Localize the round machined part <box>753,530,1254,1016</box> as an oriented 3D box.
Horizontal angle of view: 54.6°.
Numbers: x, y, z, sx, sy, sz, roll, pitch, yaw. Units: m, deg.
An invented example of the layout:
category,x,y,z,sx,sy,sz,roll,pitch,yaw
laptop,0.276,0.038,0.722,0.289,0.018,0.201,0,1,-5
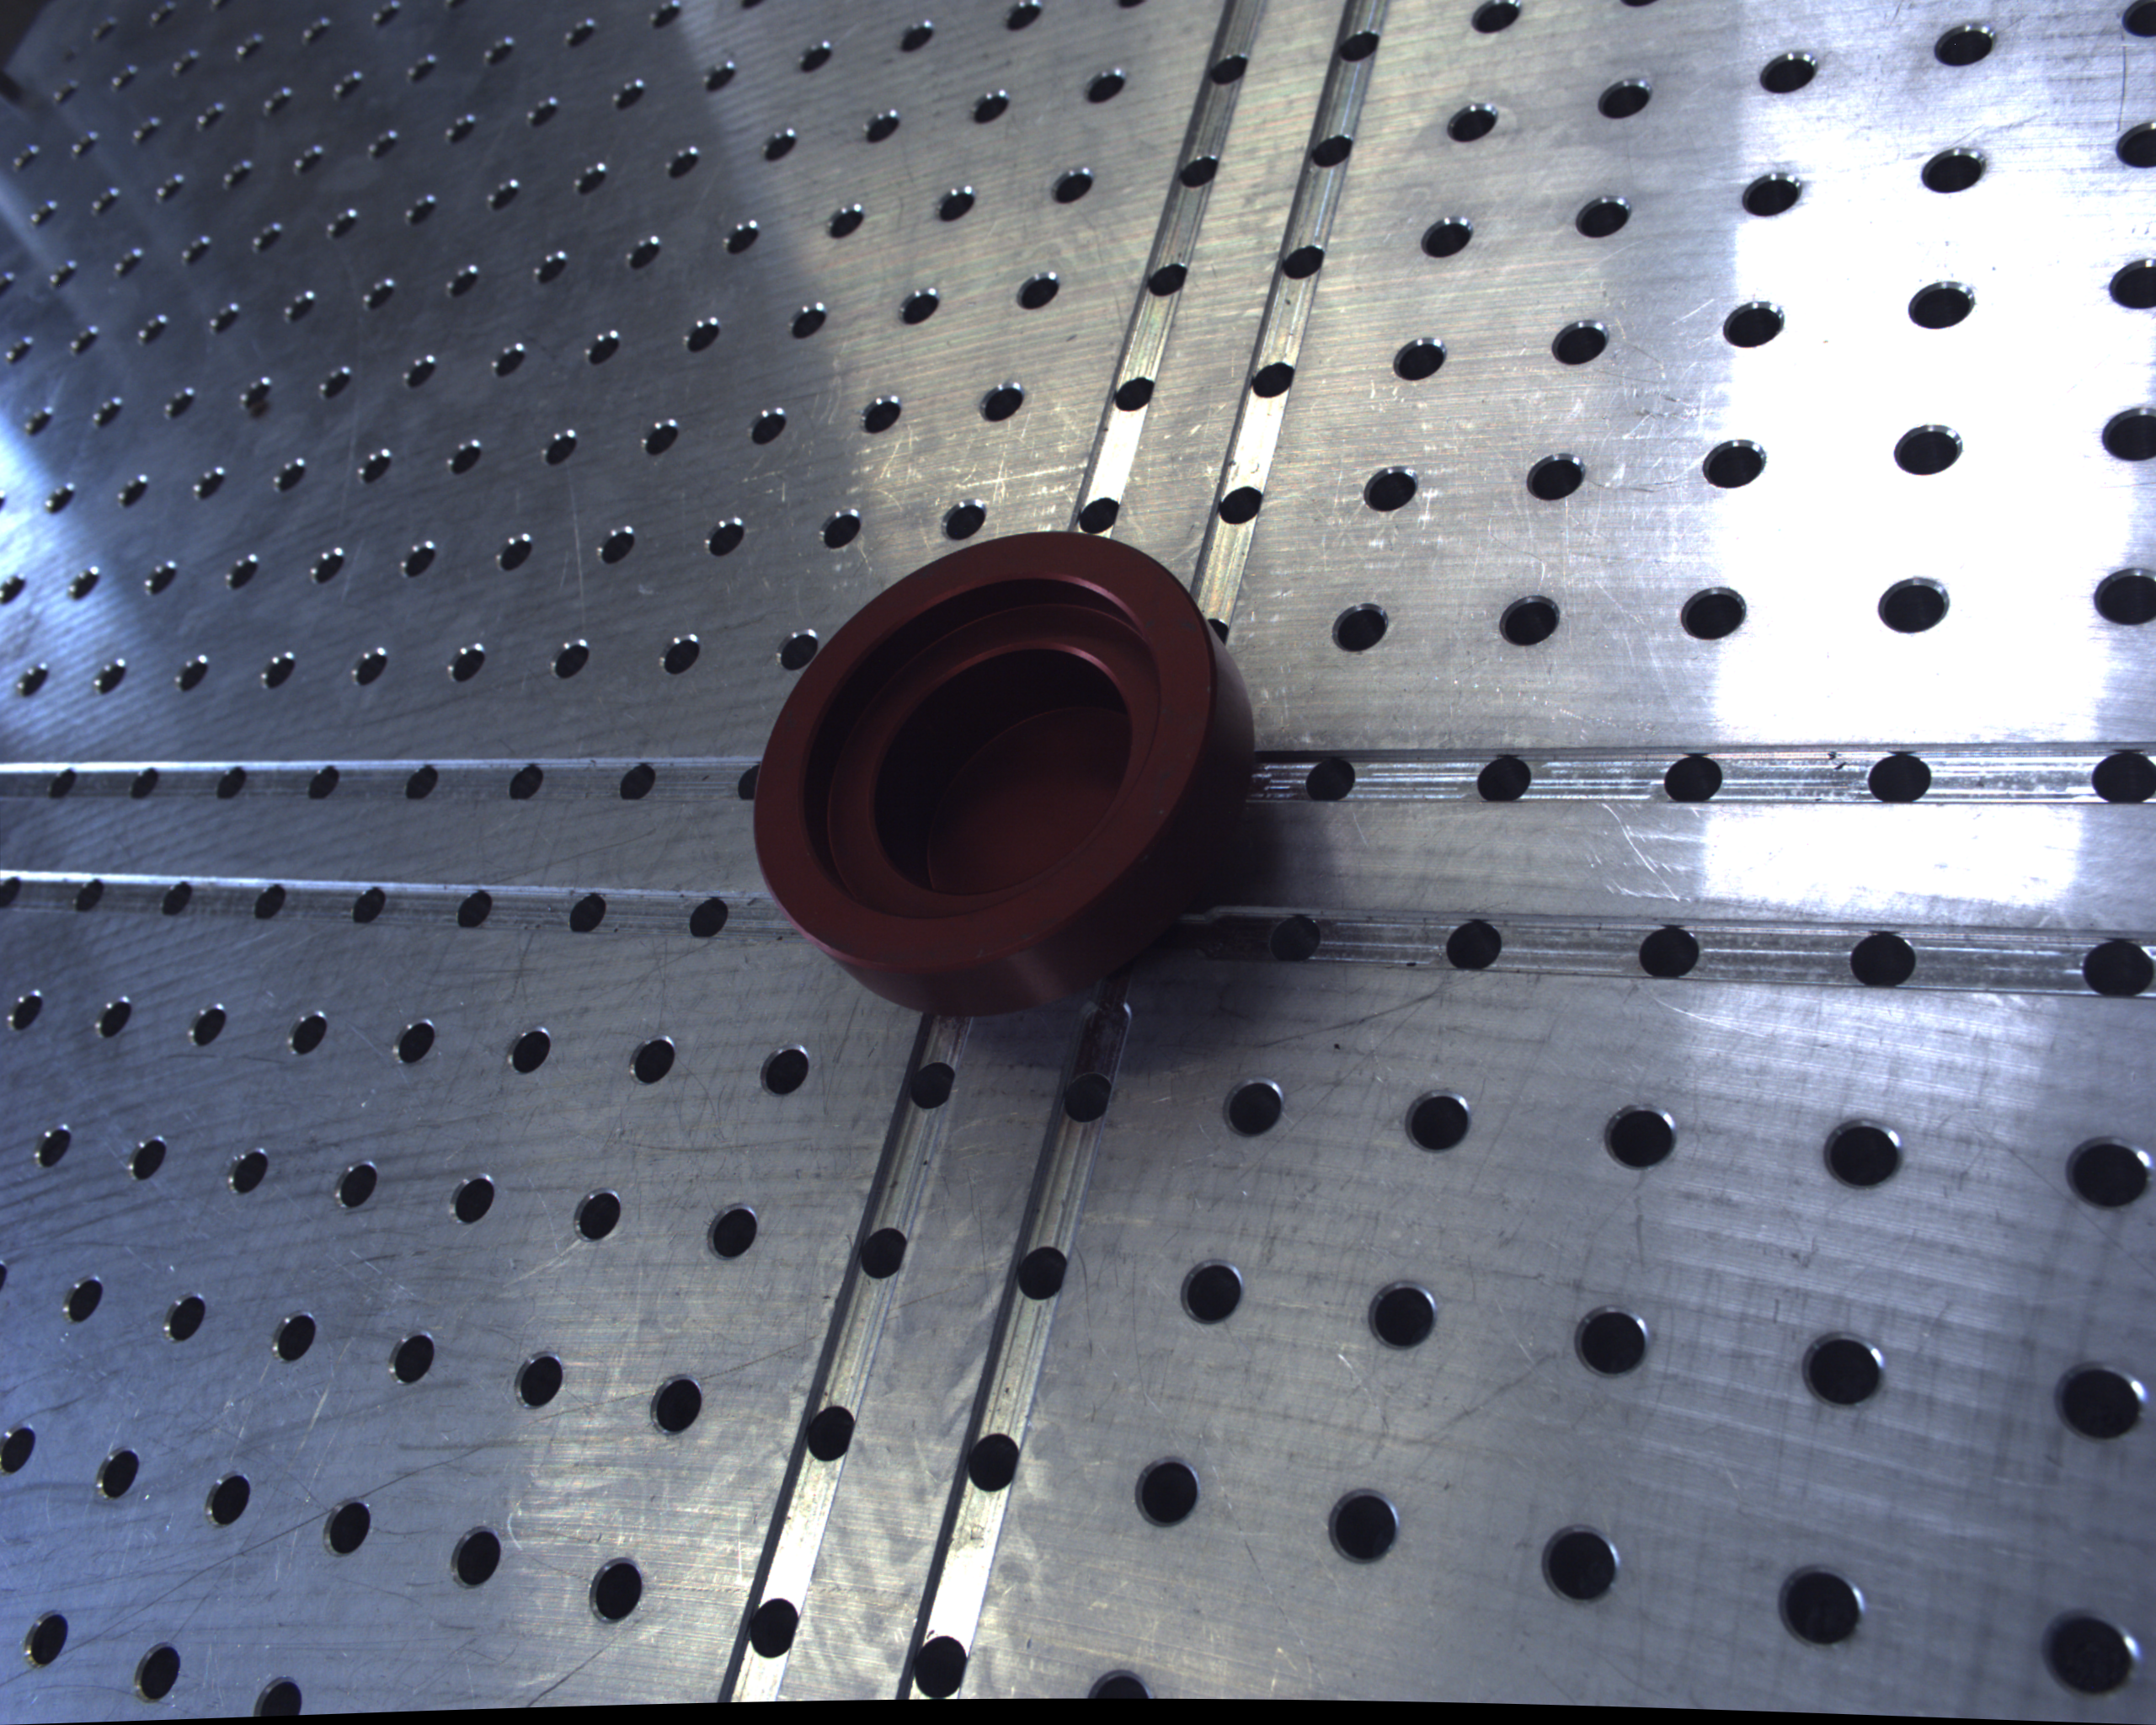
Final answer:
category,x,y,z,sx,sy,sz,roll,pitch,yaw
round machined part,-0.011,-0.014,0.412,0.098,0.042,0.098,-13,56,21
